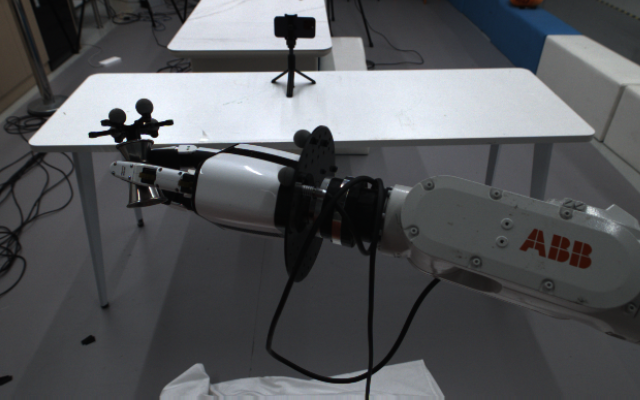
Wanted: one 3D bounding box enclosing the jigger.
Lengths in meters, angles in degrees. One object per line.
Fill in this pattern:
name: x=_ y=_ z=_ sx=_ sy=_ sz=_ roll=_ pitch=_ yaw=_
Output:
jigger: x=-0.194 y=-0.028 z=0.534 sx=0.043 sy=0.071 sz=0.043 roll=-14 pitch=-3 yaw=-1
